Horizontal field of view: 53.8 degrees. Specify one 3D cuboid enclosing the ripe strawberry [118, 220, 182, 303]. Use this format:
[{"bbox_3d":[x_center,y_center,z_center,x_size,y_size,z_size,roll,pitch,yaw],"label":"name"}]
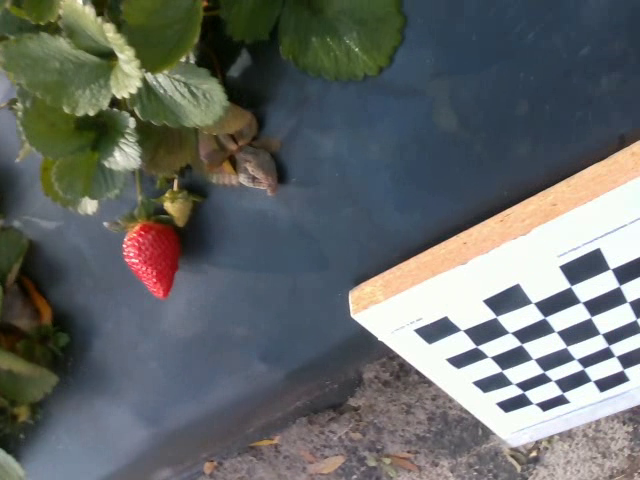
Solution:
[{"bbox_3d":[-0.106,0.013,0.395,0.045,0.057,0.051,-25,-3,20],"label":"ripe strawberry"}]
